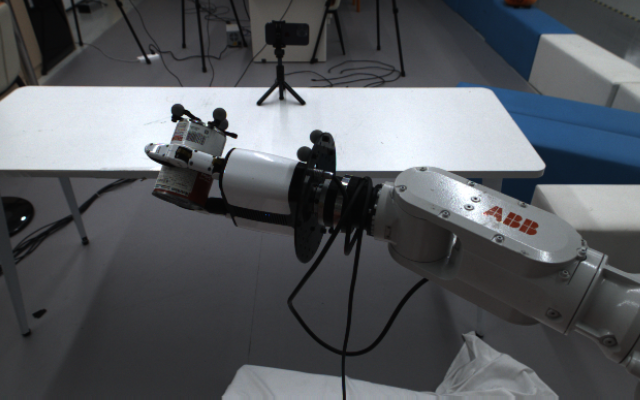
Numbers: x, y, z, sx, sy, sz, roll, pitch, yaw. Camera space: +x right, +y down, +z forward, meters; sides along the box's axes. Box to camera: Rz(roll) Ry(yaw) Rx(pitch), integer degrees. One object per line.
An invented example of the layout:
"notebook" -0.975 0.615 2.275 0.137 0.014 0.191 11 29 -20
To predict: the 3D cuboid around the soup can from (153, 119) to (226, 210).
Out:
"soup can" -0.167 -0.044 0.624 0.067 0.067 0.101 13 77 15
